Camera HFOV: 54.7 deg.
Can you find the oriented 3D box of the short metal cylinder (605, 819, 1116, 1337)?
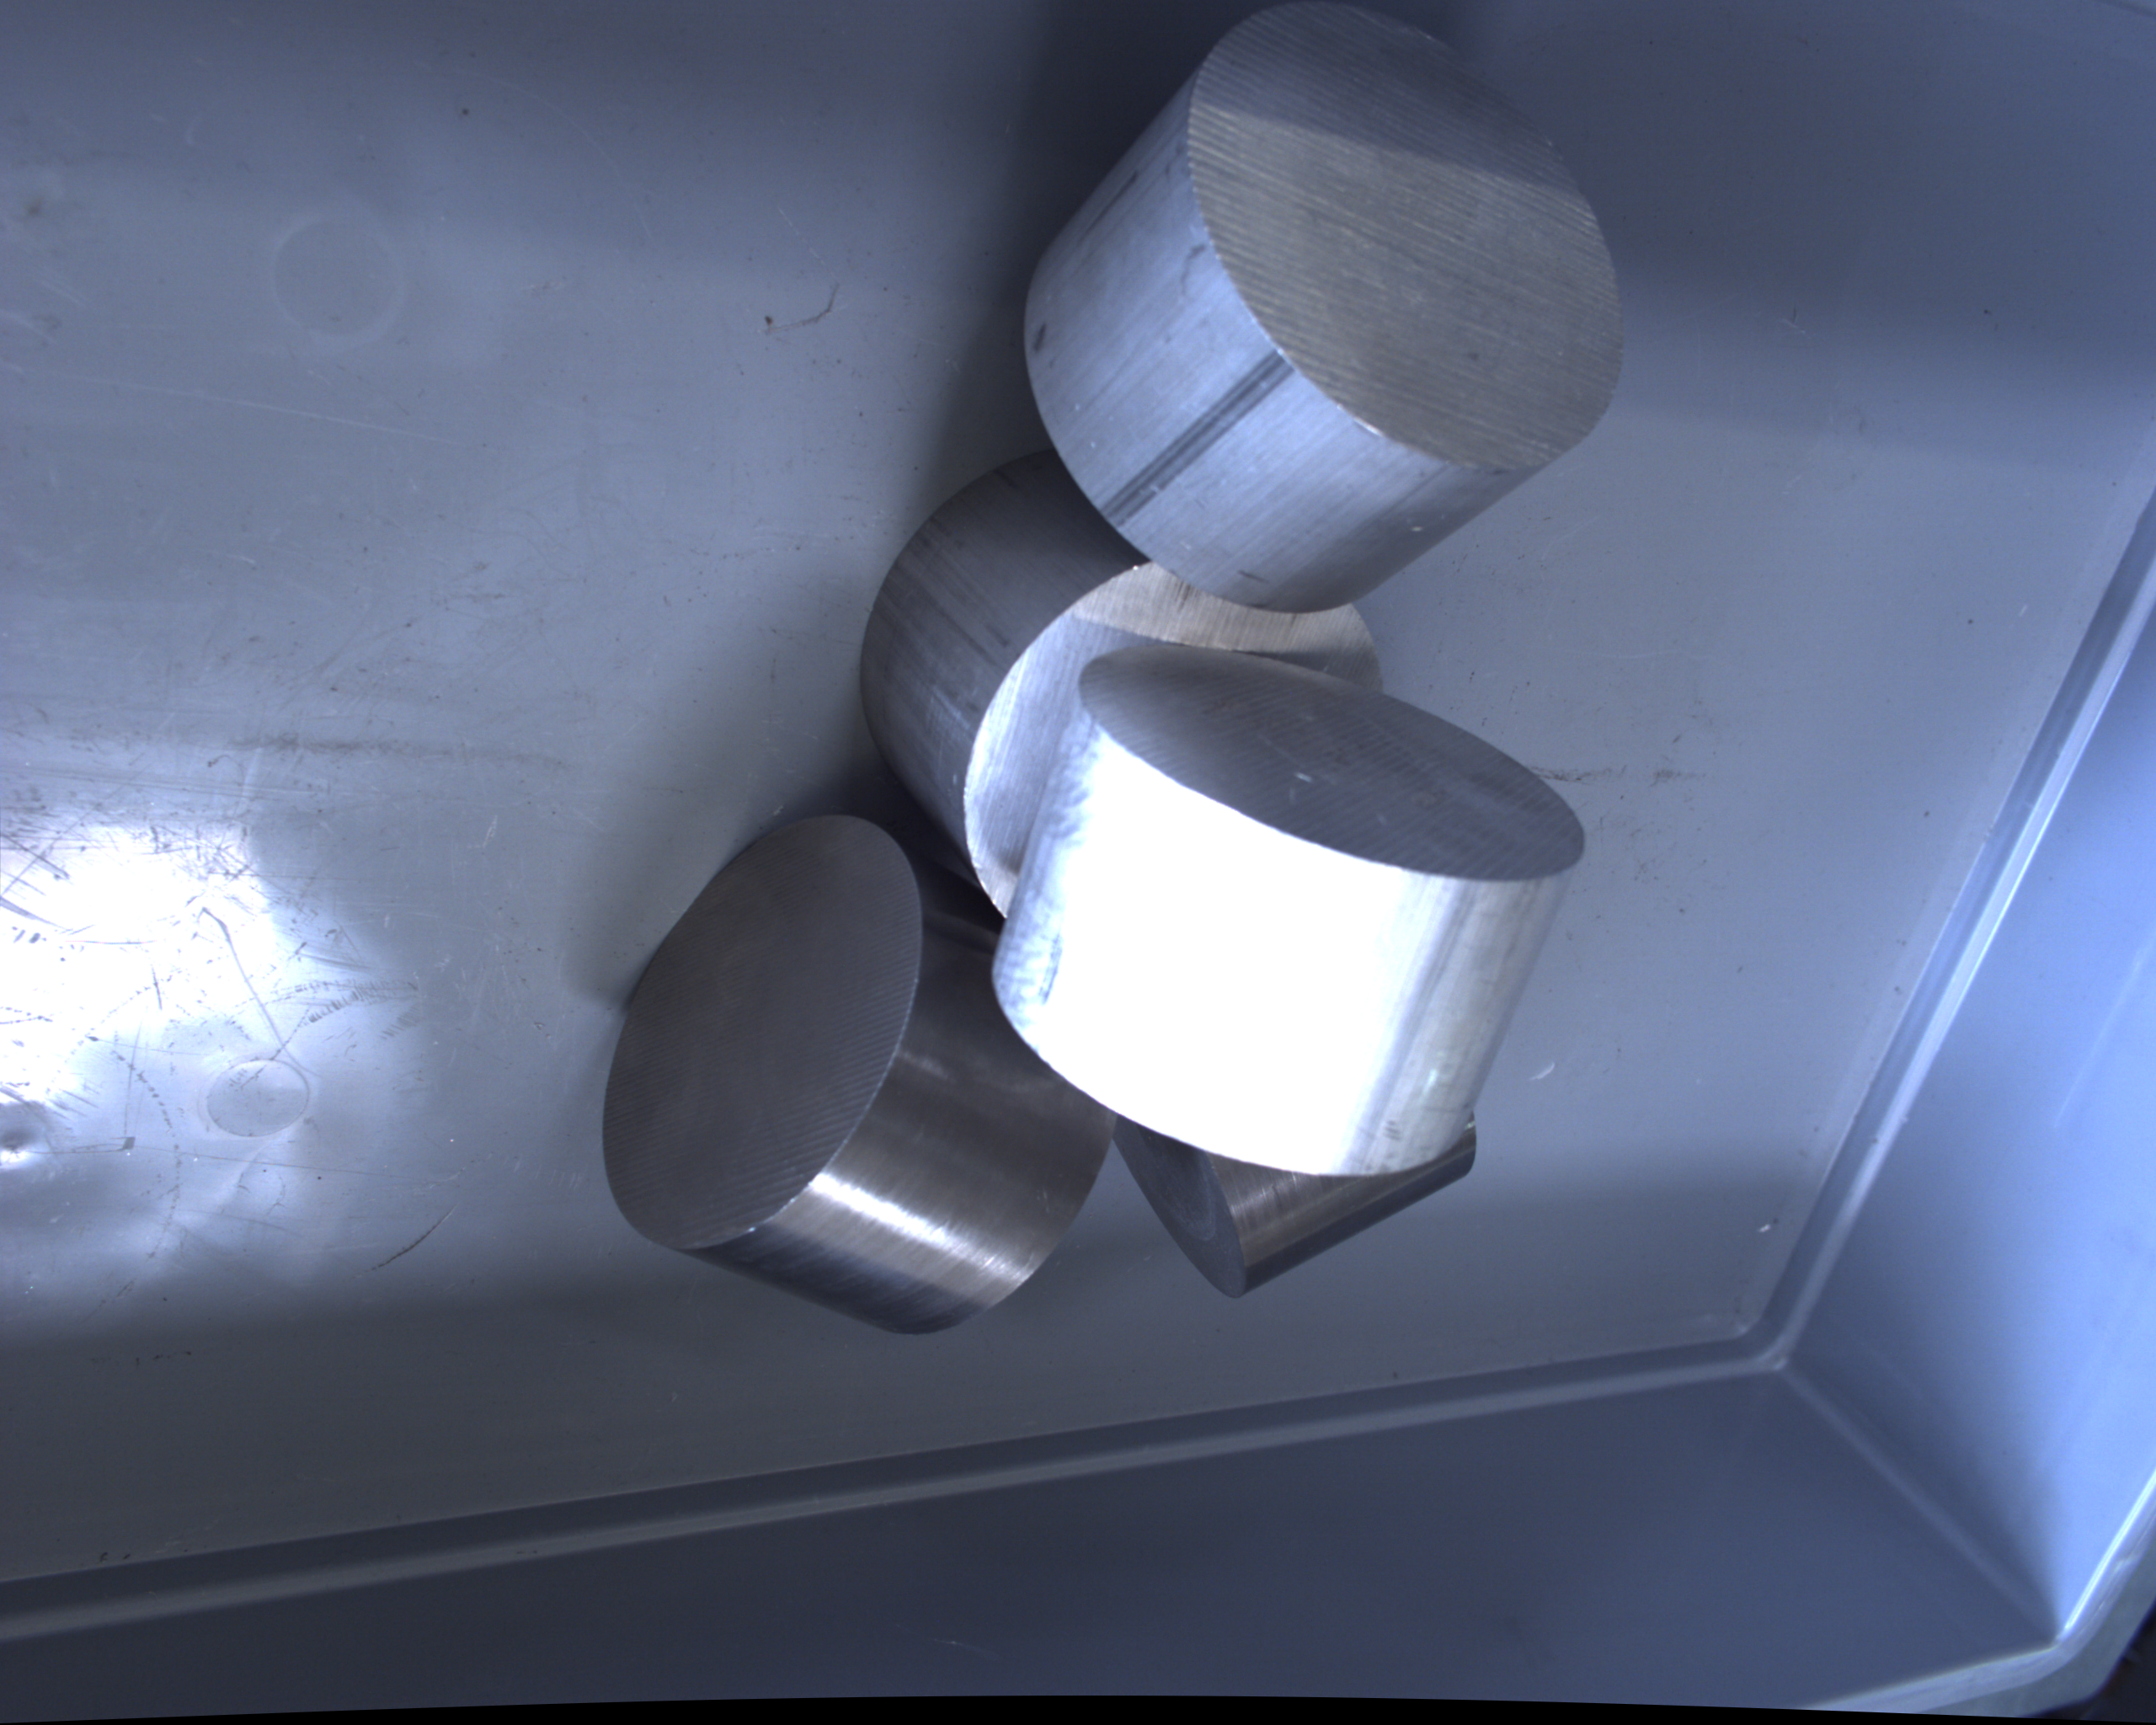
[{"bbox_3d":[-0.039,0.039,0.373,0.050,0.080,0.080,33,100,-38],"label":"short metal cylinder"}]

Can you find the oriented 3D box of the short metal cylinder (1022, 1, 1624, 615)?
[{"bbox_3d":[0.038,-0.086,0.330,0.081,0.080,0.050,4,159,-30],"label":"short metal cylinder"}]

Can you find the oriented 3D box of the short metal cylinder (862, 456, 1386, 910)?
[{"bbox_3d":[0.008,-0.028,0.376,0.081,0.050,0.079,-14,124,-21],"label":"short metal cylinder"}]

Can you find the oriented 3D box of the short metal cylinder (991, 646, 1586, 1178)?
[{"bbox_3d":[0.032,0.005,0.326,0.081,0.080,0.050,3,117,-30],"label":"short metal cylinder"}]

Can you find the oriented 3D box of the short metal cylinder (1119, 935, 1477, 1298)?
[{"bbox_3d":[0.035,0.039,0.414,0.050,0.080,0.080,-25,128,-12],"label":"short metal cylinder"}]
